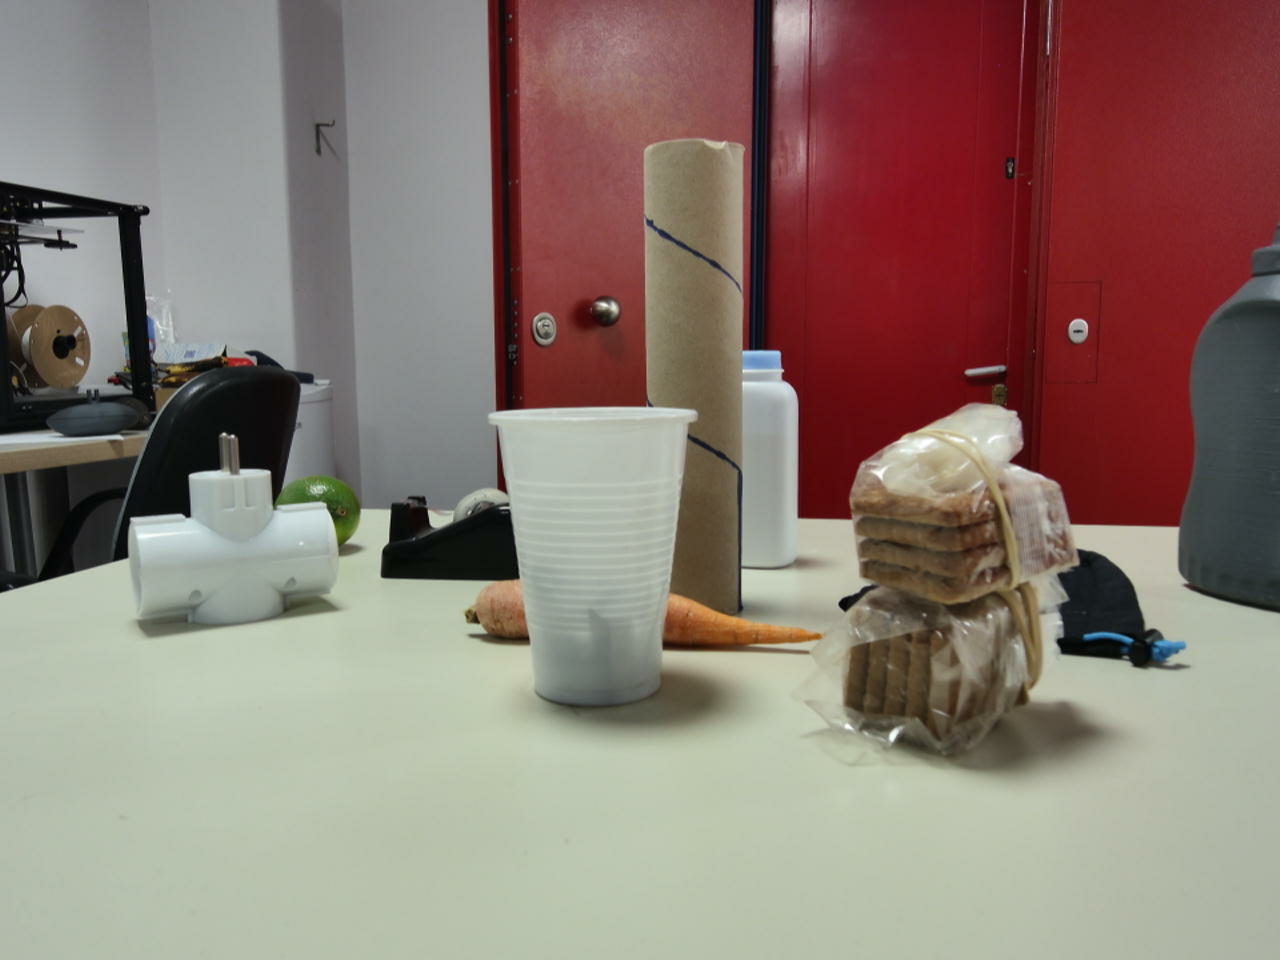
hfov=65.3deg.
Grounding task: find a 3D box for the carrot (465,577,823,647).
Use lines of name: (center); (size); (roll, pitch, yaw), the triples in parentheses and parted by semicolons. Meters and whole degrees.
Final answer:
carrot: (-0.001, 0.060, 0.450); (0.163, 0.029, 0.031); (1, 4, 12)
